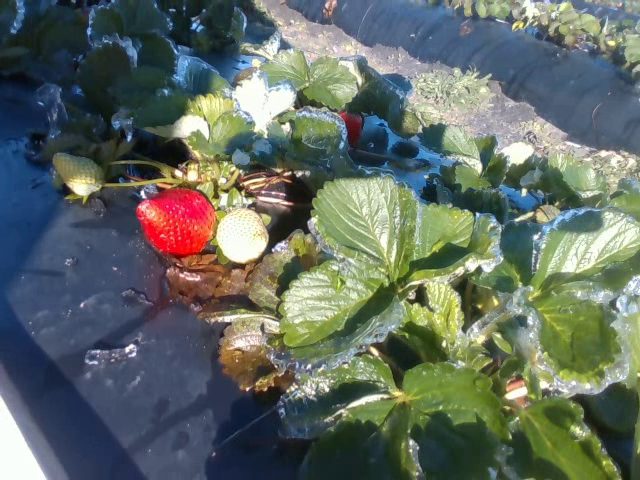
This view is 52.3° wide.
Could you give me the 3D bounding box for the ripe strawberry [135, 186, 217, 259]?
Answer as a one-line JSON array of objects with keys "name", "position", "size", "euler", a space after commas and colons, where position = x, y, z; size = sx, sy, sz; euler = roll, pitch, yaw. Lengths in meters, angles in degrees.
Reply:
[{"name": "ripe strawberry", "position": [-0.074, -0.011, 0.309], "size": [0.040, 0.042, 0.053], "euler": [2, -8, 16]}]
